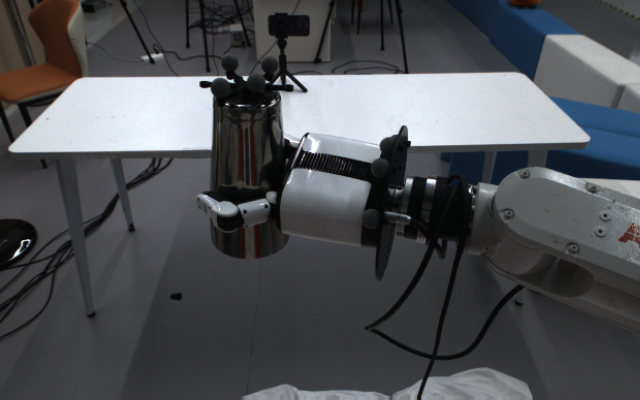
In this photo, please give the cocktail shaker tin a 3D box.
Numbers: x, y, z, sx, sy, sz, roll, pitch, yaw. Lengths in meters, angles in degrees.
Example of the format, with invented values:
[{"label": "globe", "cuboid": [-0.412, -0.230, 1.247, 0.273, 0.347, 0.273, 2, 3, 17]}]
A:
[{"label": "cocktail shaker tin", "cuboid": [-0.072, -0.031, 0.516, 0.093, 0.170, 0.093, 3, 34, -2]}]
